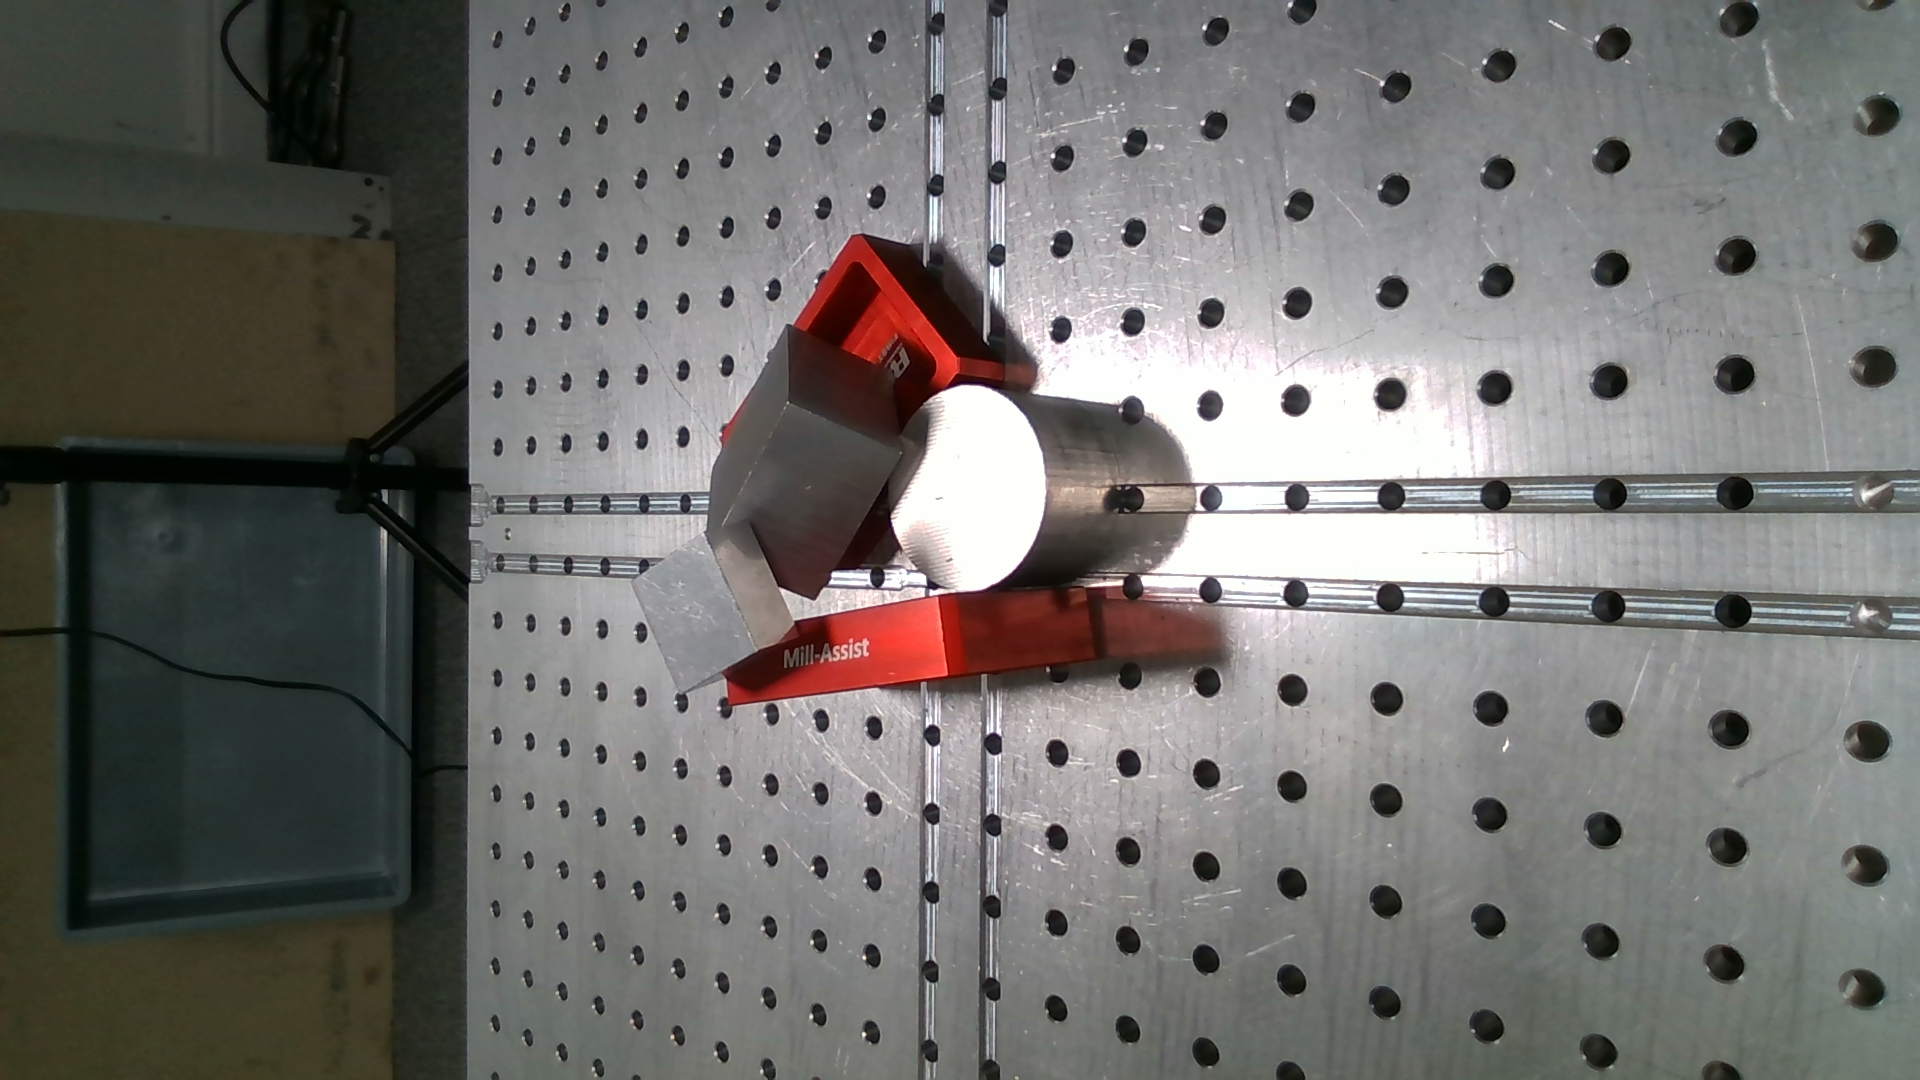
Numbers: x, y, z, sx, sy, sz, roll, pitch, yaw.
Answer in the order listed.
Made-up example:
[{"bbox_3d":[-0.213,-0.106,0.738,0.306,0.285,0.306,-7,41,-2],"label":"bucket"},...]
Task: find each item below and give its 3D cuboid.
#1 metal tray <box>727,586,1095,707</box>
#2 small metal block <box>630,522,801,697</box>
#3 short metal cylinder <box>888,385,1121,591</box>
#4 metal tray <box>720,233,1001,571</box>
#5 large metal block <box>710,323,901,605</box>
[{"bbox_3d":[-0.023,0.044,0.562,0.130,0.090,0.030,-12,82,40],"label":"metal tray"},{"bbox_3d":[-0.097,0.028,0.544,0.050,0.025,0.050,-30,83,37],"label":"small metal block"},{"bbox_3d":[0.017,-0.020,0.554,0.080,0.050,0.080,0,91,40],"label":"short metal cylinder"},{"bbox_3d":[-0.049,-0.060,0.621,0.130,0.030,0.090,-51,60,28],"label":"metal tray"},{"bbox_3d":[-0.068,-0.034,0.585,0.080,0.050,0.080,-58,21,25],"label":"large metal block"}]
